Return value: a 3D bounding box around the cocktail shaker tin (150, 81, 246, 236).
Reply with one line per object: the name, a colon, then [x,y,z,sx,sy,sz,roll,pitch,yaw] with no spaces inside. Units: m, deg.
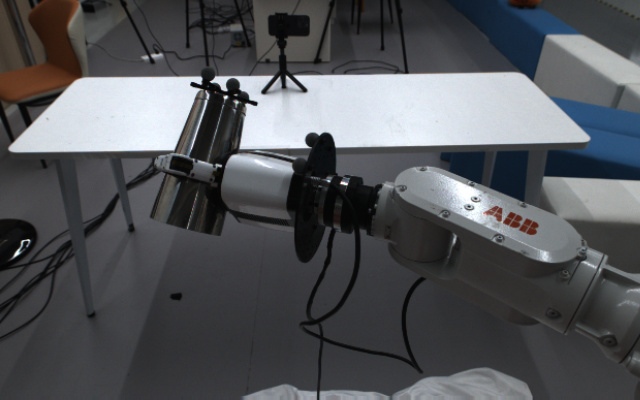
cocktail shaker tin: [-0.148,-0.047,0.620,0.093,0.170,0.093,16,-4,1]
